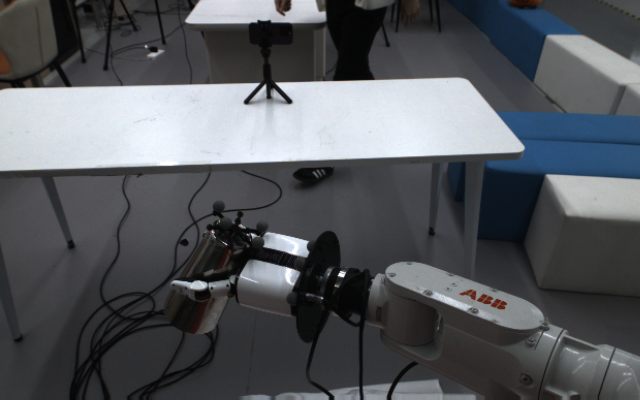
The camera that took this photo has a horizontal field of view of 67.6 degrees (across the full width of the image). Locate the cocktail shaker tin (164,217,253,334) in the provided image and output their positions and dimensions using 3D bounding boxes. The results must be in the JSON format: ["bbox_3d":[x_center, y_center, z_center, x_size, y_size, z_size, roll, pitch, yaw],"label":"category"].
[{"bbox_3d":[-0.165,0.109,0.736,0.093,0.170,0.093,25,29,-15],"label":"cocktail shaker tin"}]
